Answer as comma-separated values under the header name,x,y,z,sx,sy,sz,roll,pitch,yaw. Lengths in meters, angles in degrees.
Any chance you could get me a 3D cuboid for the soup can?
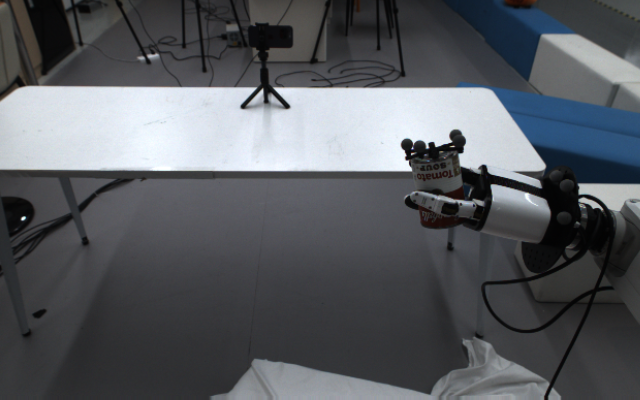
name,x,y,z,sx,sy,sz,roll,pitch,yaw
soup can,0.171,-0.019,0.694,0.067,0.101,0.067,-12,17,4
